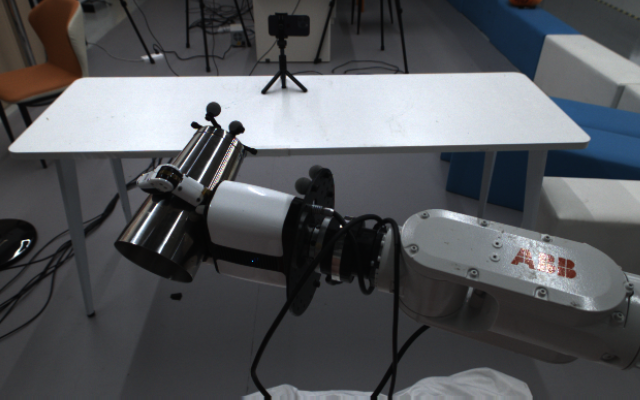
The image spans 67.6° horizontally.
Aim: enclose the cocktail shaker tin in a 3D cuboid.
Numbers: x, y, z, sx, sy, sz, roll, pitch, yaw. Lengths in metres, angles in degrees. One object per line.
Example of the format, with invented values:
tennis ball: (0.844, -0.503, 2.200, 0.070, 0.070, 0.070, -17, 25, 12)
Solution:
cocktail shaker tin: (-0.152, 0.000, 0.560, 0.093, 0.093, 0.170, 14, 61, 17)
